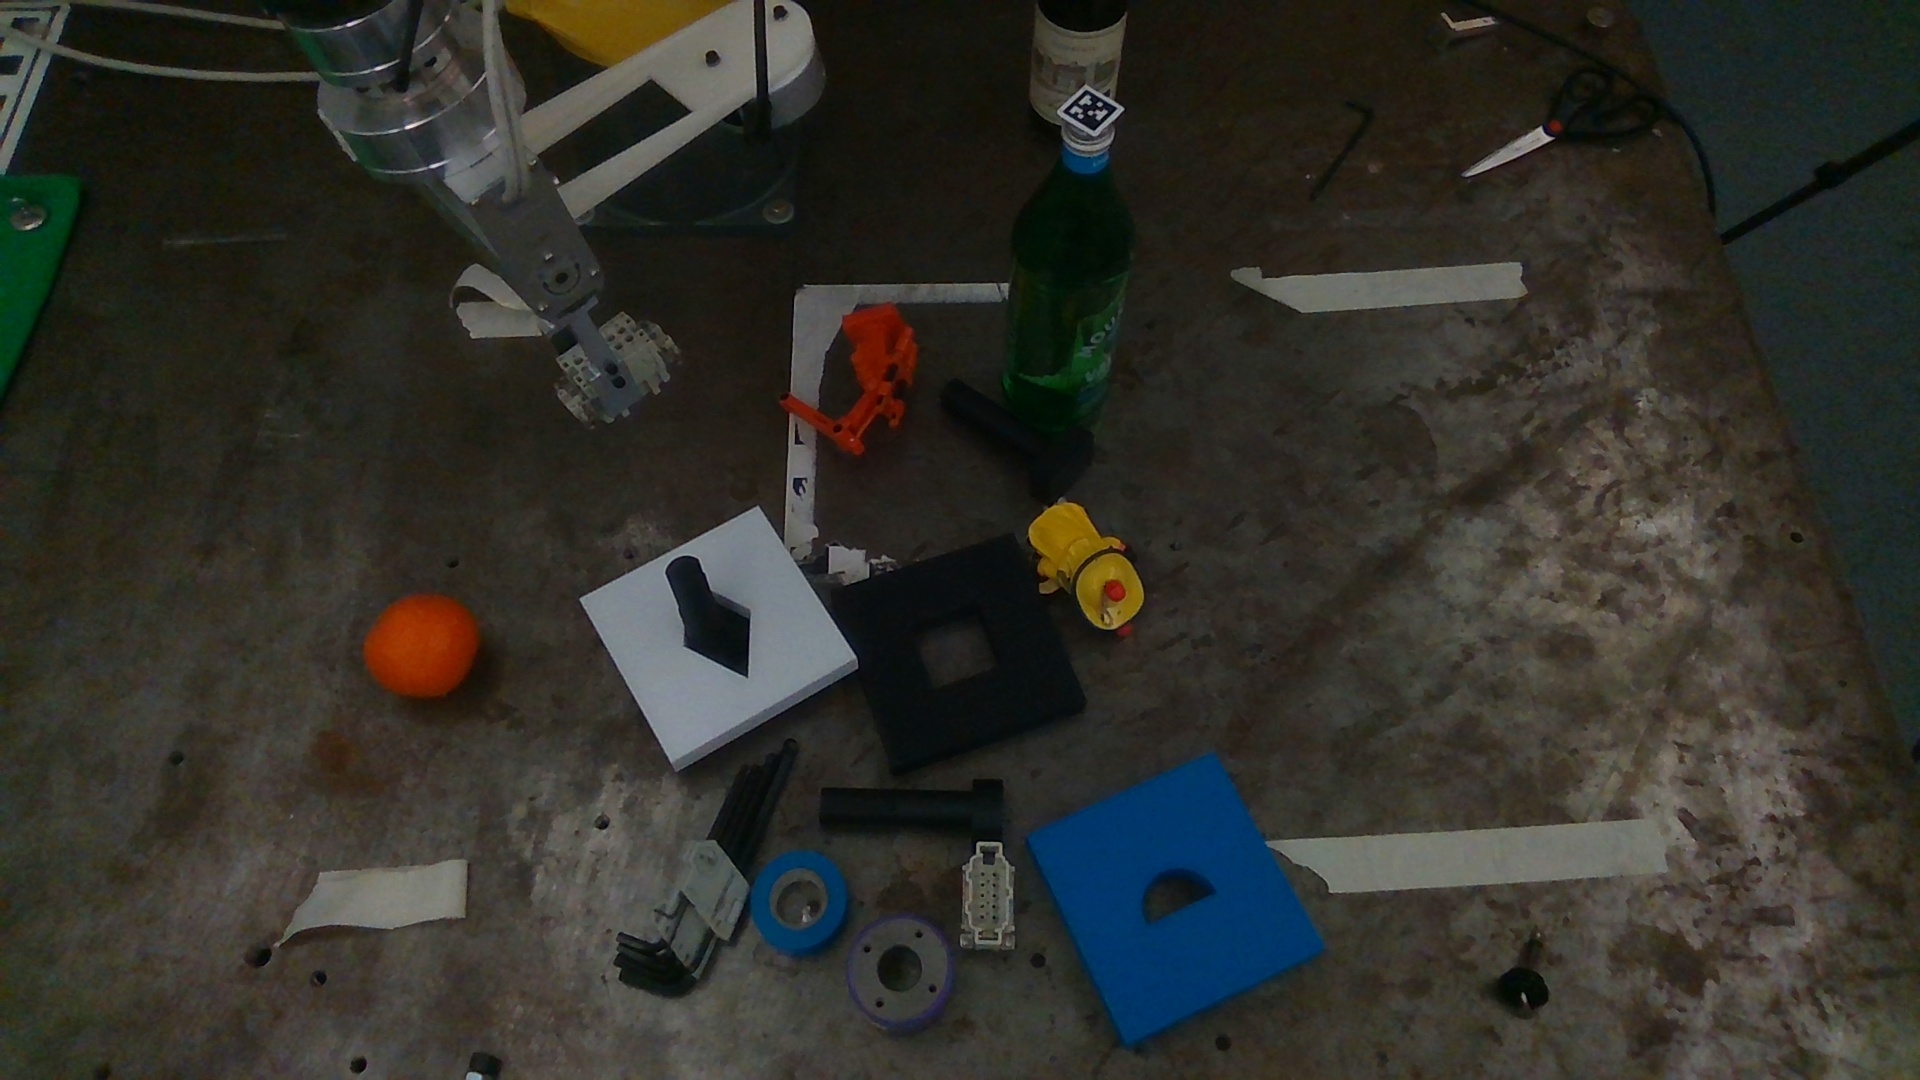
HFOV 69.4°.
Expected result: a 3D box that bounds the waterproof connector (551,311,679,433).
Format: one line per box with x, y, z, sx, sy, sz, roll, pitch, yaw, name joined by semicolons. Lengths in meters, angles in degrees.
-0.191;-0.093;0.763;0.069;0.038;0.037;-44;62;-9;waterproof connector
